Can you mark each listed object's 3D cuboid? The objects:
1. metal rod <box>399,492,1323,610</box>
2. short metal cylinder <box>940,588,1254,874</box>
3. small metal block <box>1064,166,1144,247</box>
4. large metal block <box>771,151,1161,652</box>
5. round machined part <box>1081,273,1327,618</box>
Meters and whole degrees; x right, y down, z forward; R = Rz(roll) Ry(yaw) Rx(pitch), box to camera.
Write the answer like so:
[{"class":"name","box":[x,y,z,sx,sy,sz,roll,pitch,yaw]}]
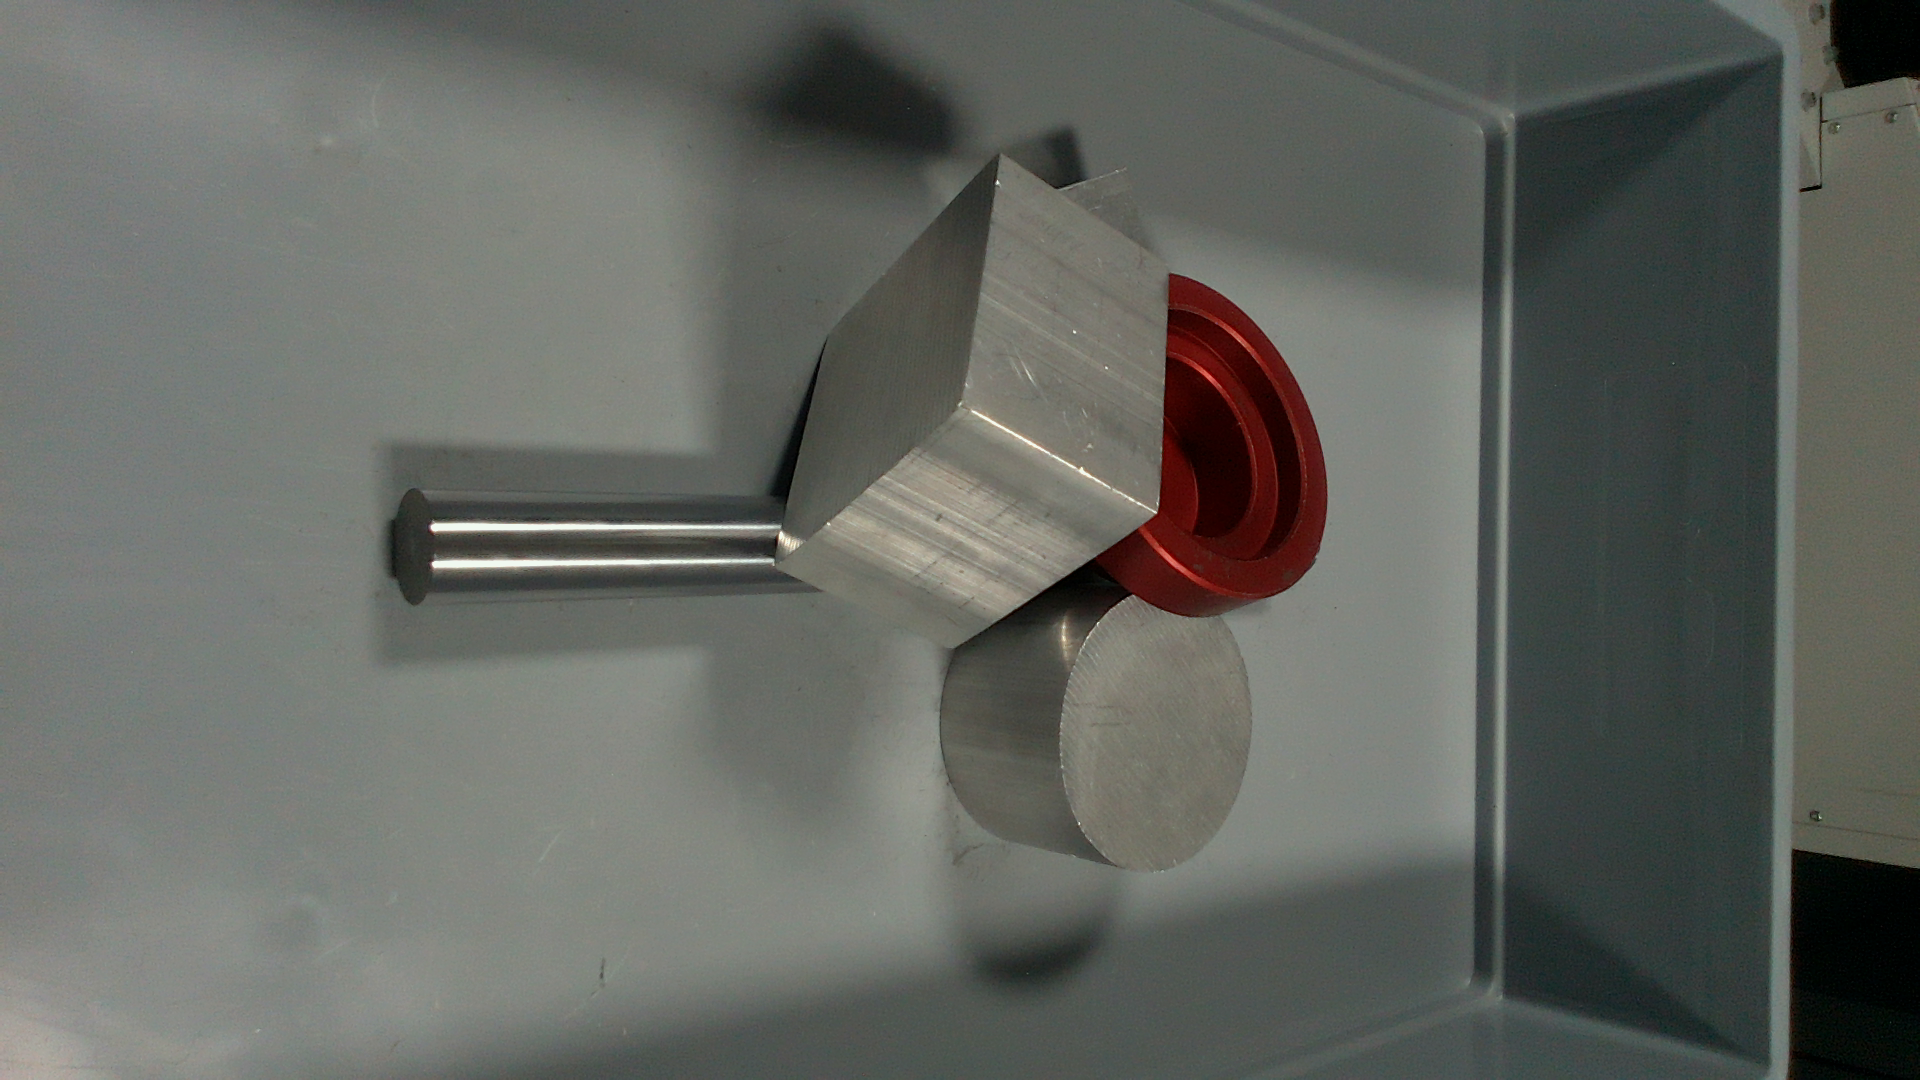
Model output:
[{"class":"metal rod","box":[0.001,0.002,0.387,0.301,0.025,0.025,0,90,-40]},{"class":"short metal cylinder","box":[0.041,0.053,0.404,0.080,0.050,0.080,0,90,-40]},{"class":"small metal block","box":[0.030,-0.080,0.414,0.050,0.025,0.050,-27,107,-37]},{"class":"large metal block","box":[0.002,-0.031,0.335,0.050,0.080,0.080,27,50,-25]},{"class":"round machined part","box":[0.059,-0.024,0.401,0.098,0.042,0.098,16,63,-34]}]
